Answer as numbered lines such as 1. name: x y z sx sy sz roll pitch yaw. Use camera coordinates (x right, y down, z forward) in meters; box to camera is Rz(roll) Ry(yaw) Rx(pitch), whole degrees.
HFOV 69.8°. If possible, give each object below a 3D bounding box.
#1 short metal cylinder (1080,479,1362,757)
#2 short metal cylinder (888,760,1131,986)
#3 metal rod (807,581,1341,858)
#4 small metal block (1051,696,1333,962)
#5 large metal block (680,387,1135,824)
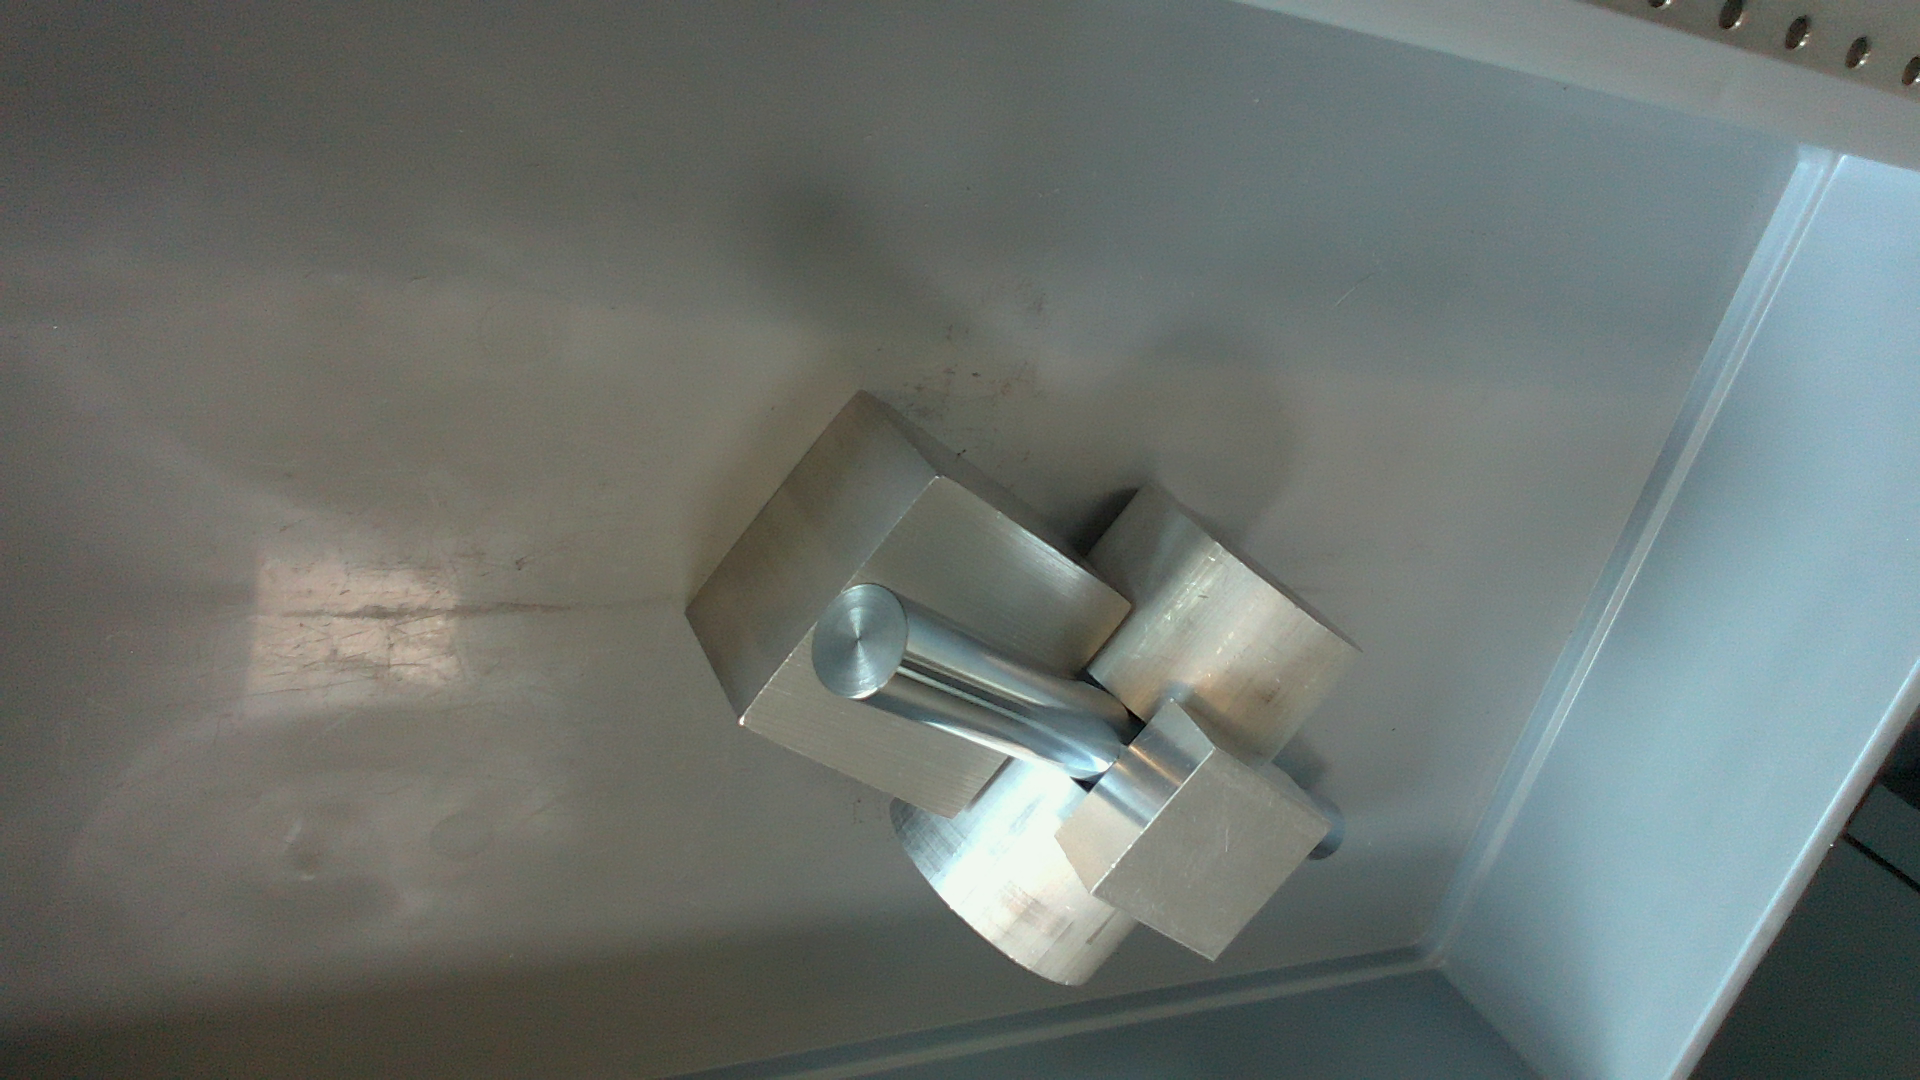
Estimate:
1. short metal cylinder: 0.071 0.026 0.408 0.080 0.080 0.050 31 101 -38
2. short metal cylinder: 0.025 0.087 0.419 0.080 0.080 0.050 34 99 -38
3. metal rod: 0.056 0.065 0.407 0.025 0.025 0.301 -50 144 7
4. small metal block: 0.062 0.078 0.367 0.050 0.025 0.050 34 99 -30
5. large metal block: -0.014 0.019 0.373 0.080 0.050 0.080 33 100 -38
